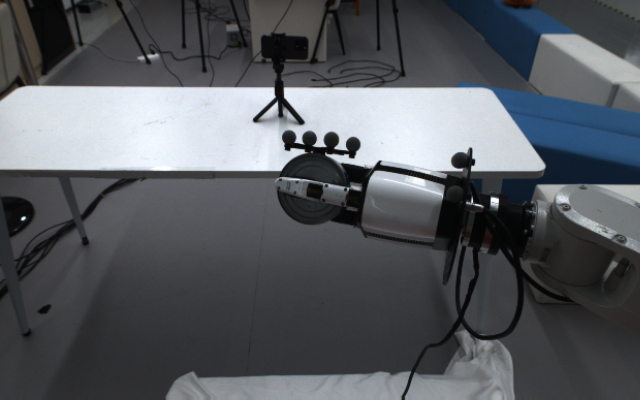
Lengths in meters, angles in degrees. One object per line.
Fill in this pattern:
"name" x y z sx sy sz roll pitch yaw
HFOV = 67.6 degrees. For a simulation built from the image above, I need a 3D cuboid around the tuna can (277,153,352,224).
"tuna can" -0.006 -0.016 0.584 0.085 0.085 0.034 11 2 13
